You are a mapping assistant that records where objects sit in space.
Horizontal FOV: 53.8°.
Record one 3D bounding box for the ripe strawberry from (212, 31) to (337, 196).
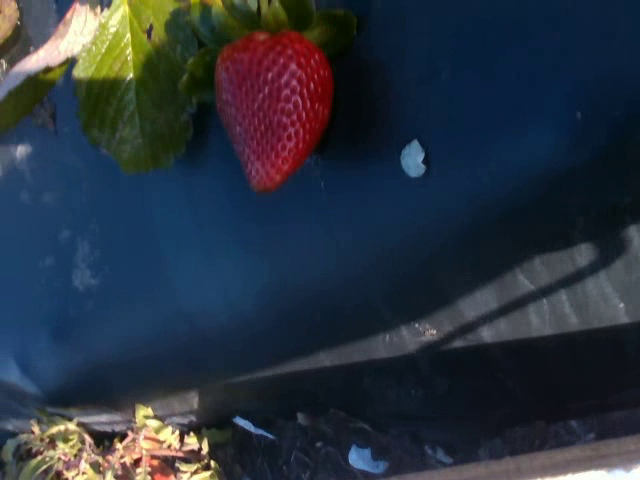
[{"bbox_3d":[-0.013,-0.035,0.176,0.045,0.055,0.041,-9,-31,21],"label":"ripe strawberry"}]
